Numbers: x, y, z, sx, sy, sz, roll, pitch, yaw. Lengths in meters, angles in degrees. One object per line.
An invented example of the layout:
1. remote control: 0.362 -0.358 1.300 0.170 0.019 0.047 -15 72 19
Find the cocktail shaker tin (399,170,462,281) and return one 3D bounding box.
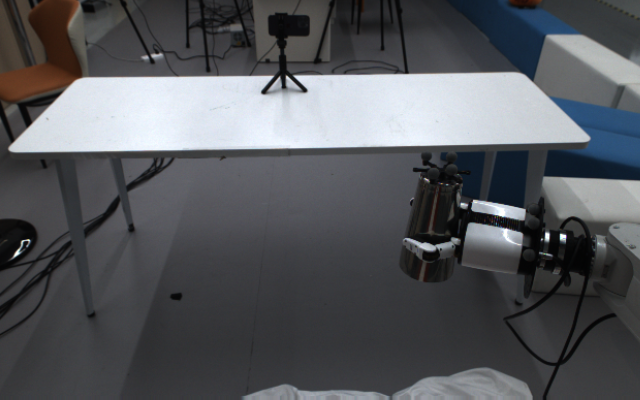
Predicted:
1. cocktail shaker tin: 0.185 0.036 0.788 0.093 0.170 0.093 2 28 -1
